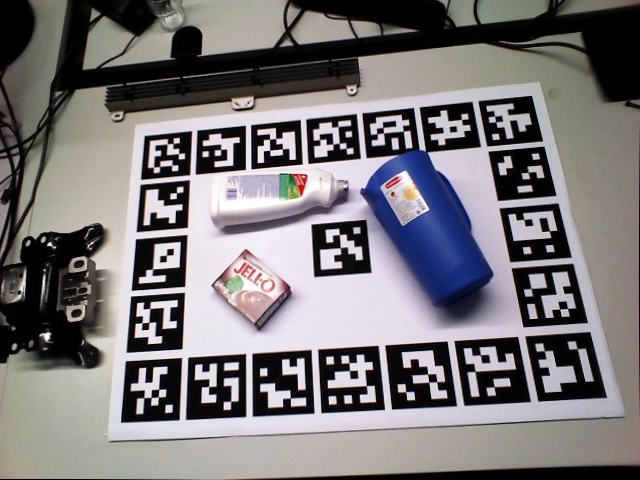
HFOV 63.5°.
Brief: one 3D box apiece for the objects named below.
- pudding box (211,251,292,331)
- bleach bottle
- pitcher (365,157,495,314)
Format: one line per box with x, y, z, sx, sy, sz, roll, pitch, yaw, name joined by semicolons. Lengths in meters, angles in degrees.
-0.118;0.087;0.885;0.114;0.039;0.089;40;72;16;pudding box
-0.067;-0.082;0.936;0.251;0.068;0.102;-7;73;1;bleach bottle
0.196;-0.008;0.863;0.188;0.134;0.242;-16;70;-37;pitcher
